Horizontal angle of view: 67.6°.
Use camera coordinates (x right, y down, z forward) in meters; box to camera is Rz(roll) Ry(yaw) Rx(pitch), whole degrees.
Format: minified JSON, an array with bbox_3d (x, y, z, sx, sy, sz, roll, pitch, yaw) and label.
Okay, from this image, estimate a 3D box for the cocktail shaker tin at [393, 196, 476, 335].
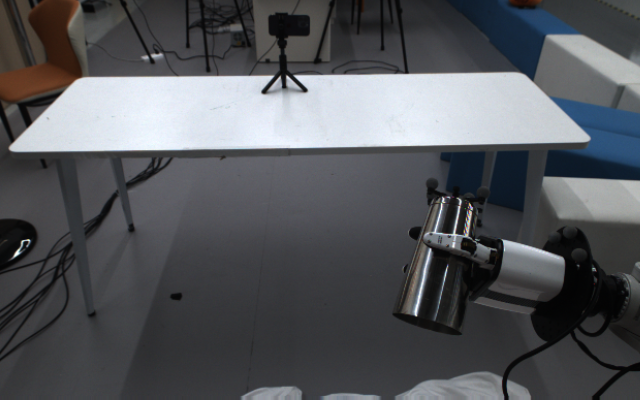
[{"bbox_3d":[0.164,0.084,0.651,0.093,0.093,0.170,12,70,15],"label":"cocktail shaker tin"}]
